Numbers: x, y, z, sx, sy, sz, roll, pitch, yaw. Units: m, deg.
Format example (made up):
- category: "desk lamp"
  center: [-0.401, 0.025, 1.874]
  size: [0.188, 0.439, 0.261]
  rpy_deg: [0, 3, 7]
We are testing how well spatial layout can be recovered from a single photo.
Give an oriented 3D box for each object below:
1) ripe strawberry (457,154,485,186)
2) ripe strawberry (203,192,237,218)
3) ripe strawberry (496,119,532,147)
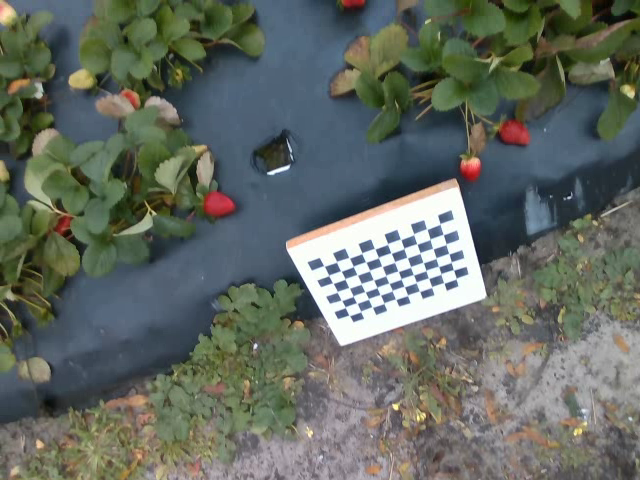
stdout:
- category: "ripe strawberry"
  center: [0.239, -0.111, 0.855]
  size: [0.036, 0.041, 0.028]
  rpy_deg: [-14, 21, 16]
- category: "ripe strawberry"
  center: [-0.171, -0.056, 0.919]
  size: [0.064, 0.049, 0.046]
  rpy_deg: [10, -38, 27]
- category: "ripe strawberry"
  center: [0.298, -0.162, 0.838]
  size: [0.059, 0.044, 0.042]
  rpy_deg: [30, 43, -1]
